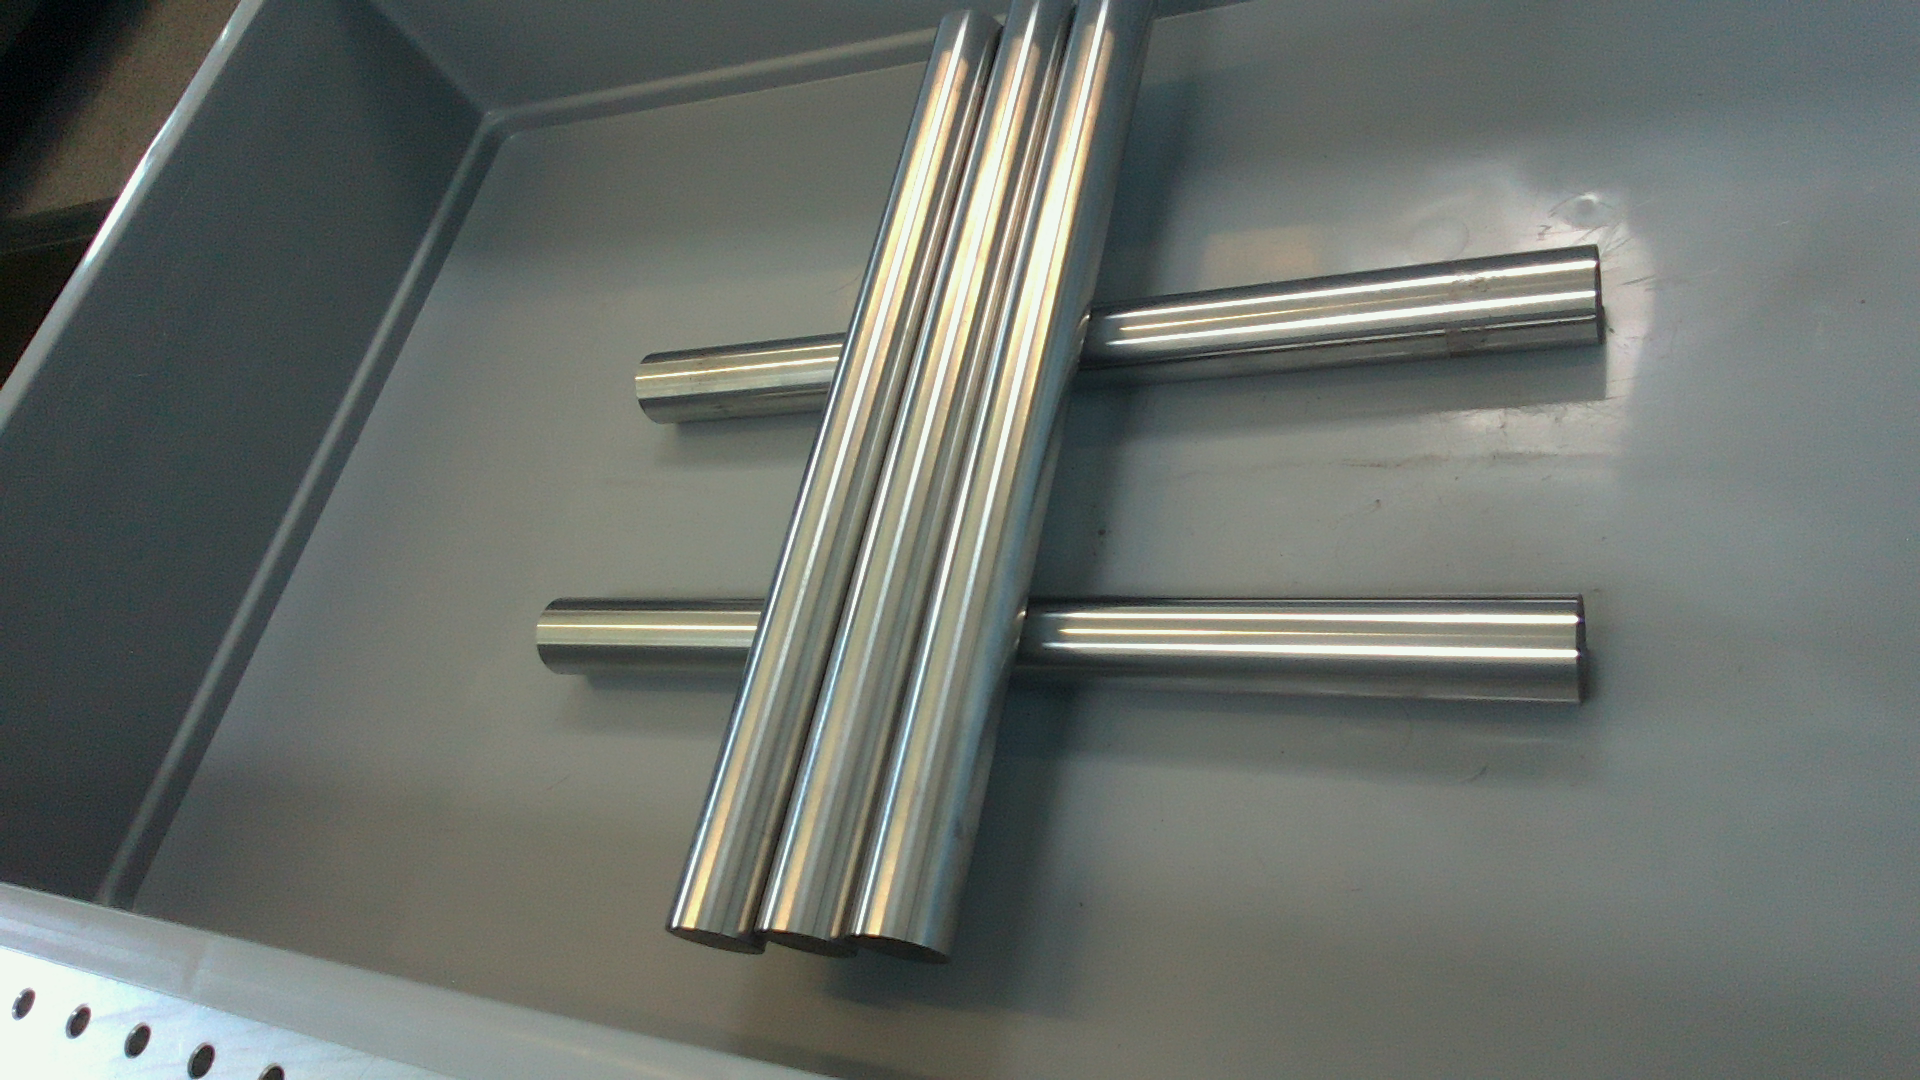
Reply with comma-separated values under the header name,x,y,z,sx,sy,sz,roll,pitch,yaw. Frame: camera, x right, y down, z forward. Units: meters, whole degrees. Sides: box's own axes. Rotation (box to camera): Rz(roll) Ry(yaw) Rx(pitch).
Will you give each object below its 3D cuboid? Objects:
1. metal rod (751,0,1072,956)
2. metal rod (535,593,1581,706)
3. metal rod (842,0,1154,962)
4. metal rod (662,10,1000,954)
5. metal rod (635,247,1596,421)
name,x,y,z,sx,sy,sz,roll,pitch,yaw
metal rod,-0.005,-0.038,0.385,0.025,0.025,0.300,-1,61,28
metal rod,0.005,0.027,0.373,0.299,0.025,0.025,-1,61,28
metal rod,0.017,-0.040,0.374,0.025,0.025,0.300,-1,61,28
metal rod,-0.028,-0.035,0.396,0.025,0.025,0.300,-1,61,28
metal rod,0.027,-0.057,0.414,0.299,0.025,0.025,-2,61,28
